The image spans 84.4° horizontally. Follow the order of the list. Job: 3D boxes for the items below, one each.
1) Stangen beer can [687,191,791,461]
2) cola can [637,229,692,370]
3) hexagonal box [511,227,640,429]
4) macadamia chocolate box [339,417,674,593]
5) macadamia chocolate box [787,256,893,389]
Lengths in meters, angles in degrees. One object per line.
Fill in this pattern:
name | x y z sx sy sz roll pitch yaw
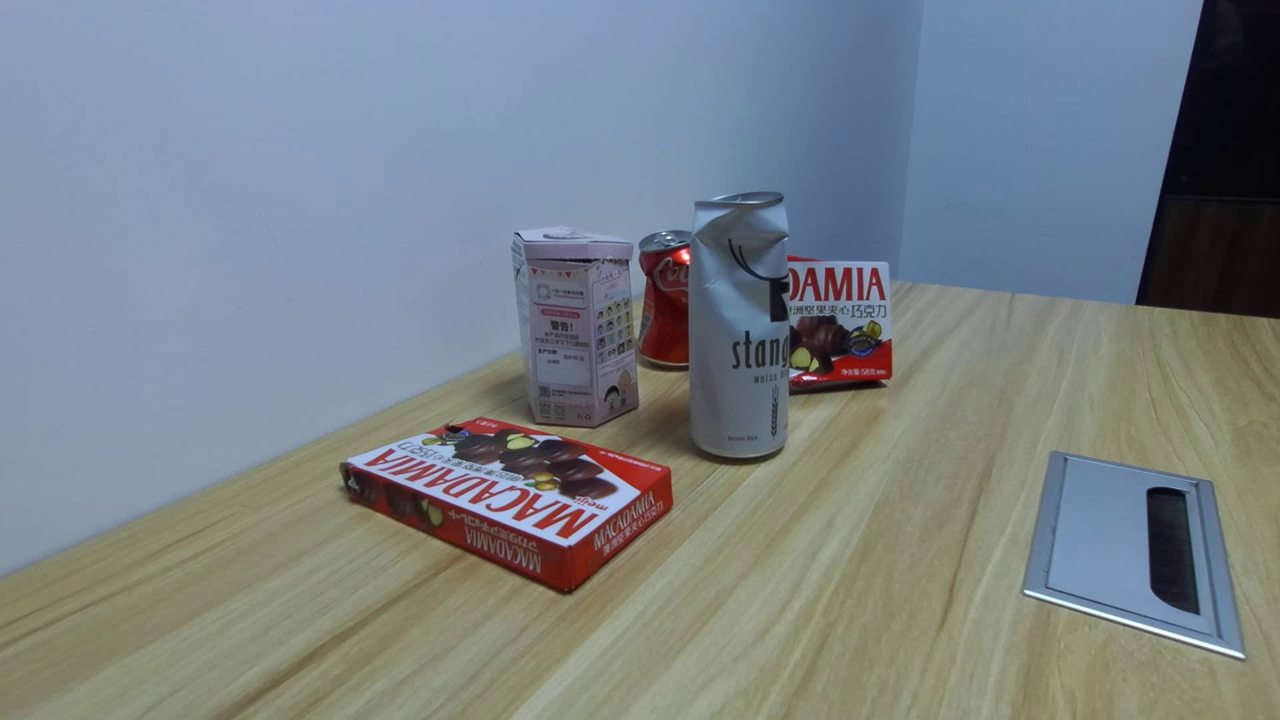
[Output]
Stangen beer can | 0.063 -0.020 0.449 0.066 0.166 0.066 -2 19 2
cola can | 0.030 -0.055 0.635 0.065 0.112 0.069 2 21 10
hexagonal box | -0.047 -0.027 0.523 0.092 0.135 0.085 4 21 15
macadamia chocolate box | -0.082 0.072 0.421 0.186 0.027 0.103 11 22 32
macadamia chocolate box | 0.135 -0.034 0.555 0.126 0.112 0.056 -4 20 -5
